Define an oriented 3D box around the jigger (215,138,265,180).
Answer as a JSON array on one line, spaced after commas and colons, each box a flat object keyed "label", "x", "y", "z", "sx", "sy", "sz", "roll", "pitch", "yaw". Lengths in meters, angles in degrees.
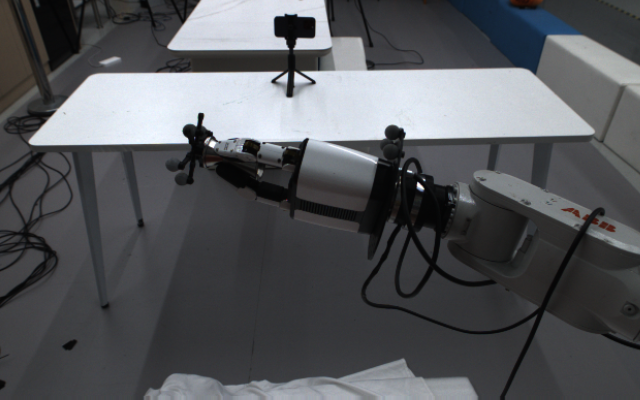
[{"label": "jigger", "x": -0.099, "y": -0.055, "z": 0.587, "sx": 0.071, "sy": 0.043, "sz": 0.043, "roll": 13, "pitch": 36, "yaw": 4}]
